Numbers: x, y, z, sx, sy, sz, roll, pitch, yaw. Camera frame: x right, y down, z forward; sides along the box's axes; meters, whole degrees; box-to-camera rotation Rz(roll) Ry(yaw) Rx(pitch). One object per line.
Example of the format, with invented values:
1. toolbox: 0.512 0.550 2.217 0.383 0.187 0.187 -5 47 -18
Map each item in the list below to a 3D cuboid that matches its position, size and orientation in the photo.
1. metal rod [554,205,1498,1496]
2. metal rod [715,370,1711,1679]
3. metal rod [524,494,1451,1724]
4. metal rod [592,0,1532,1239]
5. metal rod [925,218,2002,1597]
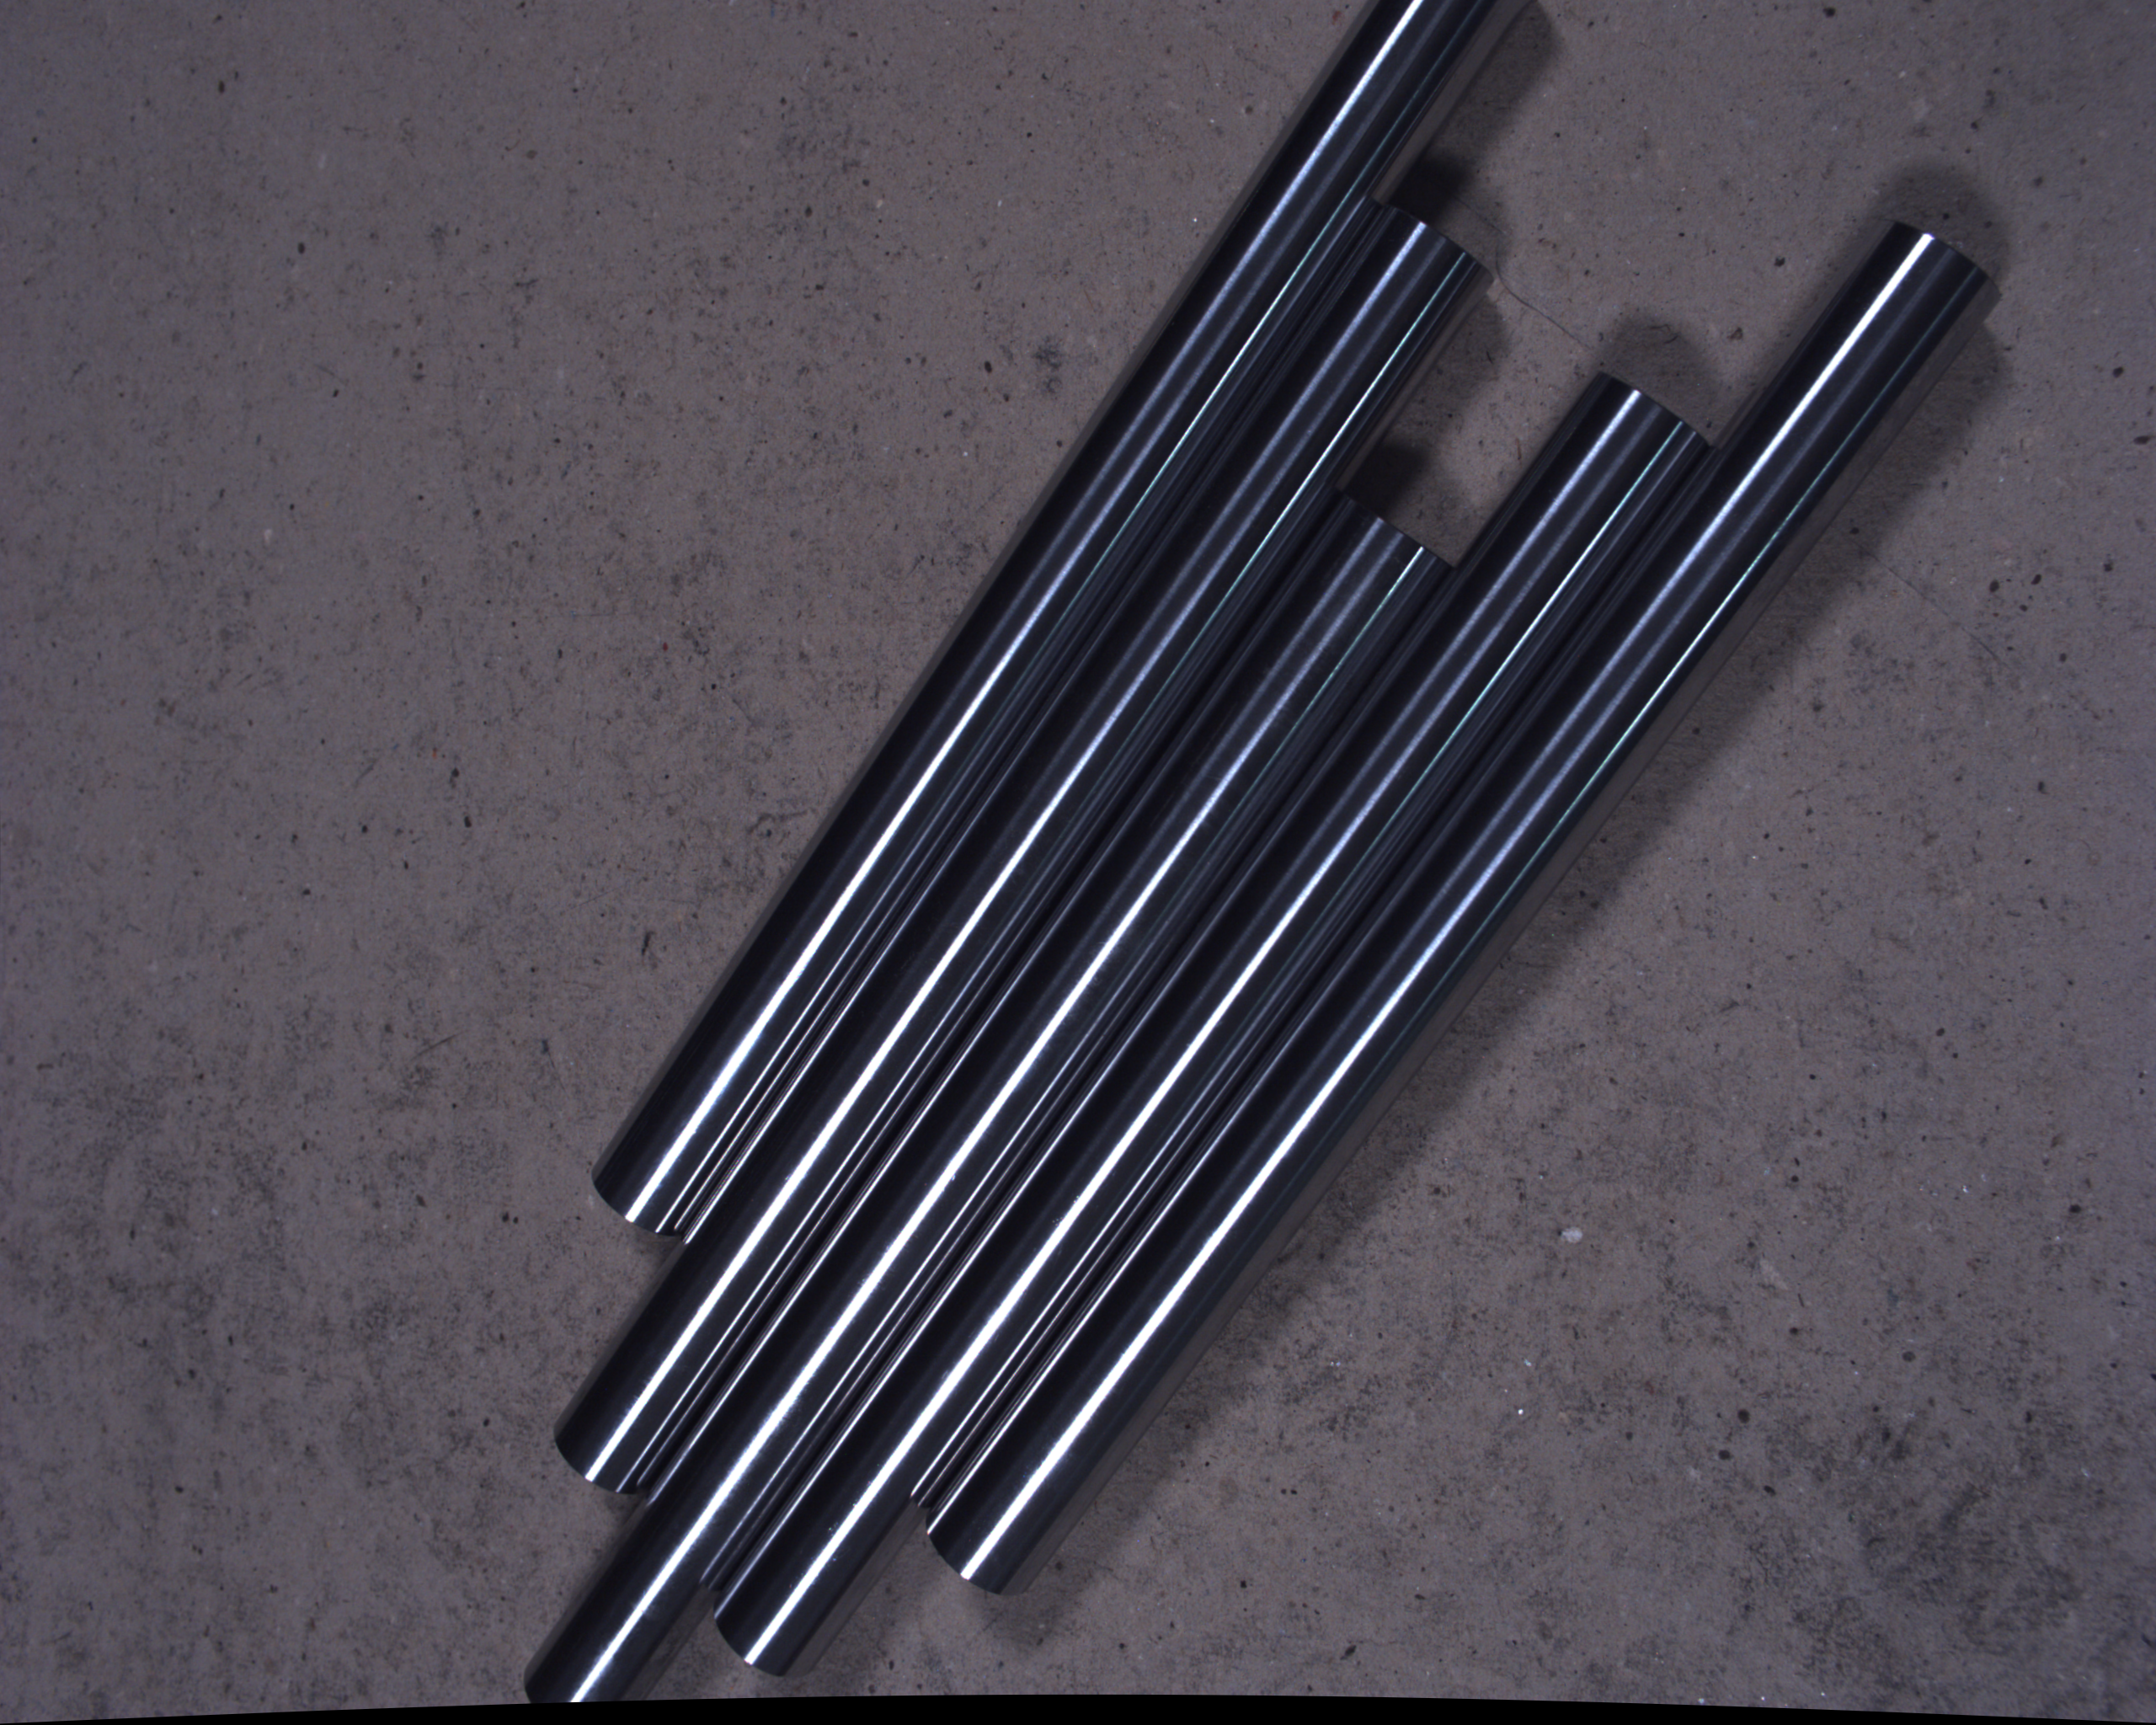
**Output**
1. metal rod: -0.016 0.006 0.415 0.025 0.025 0.299 38 102 15
2. metal rod: 0.019 0.039 0.402 0.025 0.025 0.299 38 102 15
3. metal rod: -0.023 0.059 0.418 0.025 0.025 0.299 38 102 15
4. metal rod: -0.008 -0.049 0.412 0.025 0.025 0.299 38 102 15
5. metal rod: 0.064 0.017 0.387 0.025 0.025 0.299 38 102 15
